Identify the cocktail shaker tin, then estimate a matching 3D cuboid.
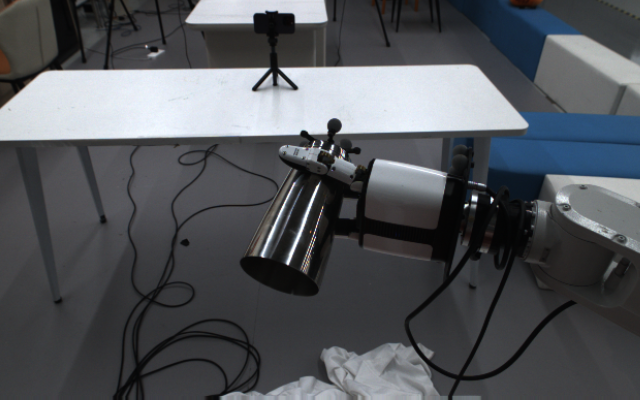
[{"bbox_3d":[-0.018,0.013,0.566,0.093,0.093,0.170,13,59,16],"label":"cocktail shaker tin"}]
